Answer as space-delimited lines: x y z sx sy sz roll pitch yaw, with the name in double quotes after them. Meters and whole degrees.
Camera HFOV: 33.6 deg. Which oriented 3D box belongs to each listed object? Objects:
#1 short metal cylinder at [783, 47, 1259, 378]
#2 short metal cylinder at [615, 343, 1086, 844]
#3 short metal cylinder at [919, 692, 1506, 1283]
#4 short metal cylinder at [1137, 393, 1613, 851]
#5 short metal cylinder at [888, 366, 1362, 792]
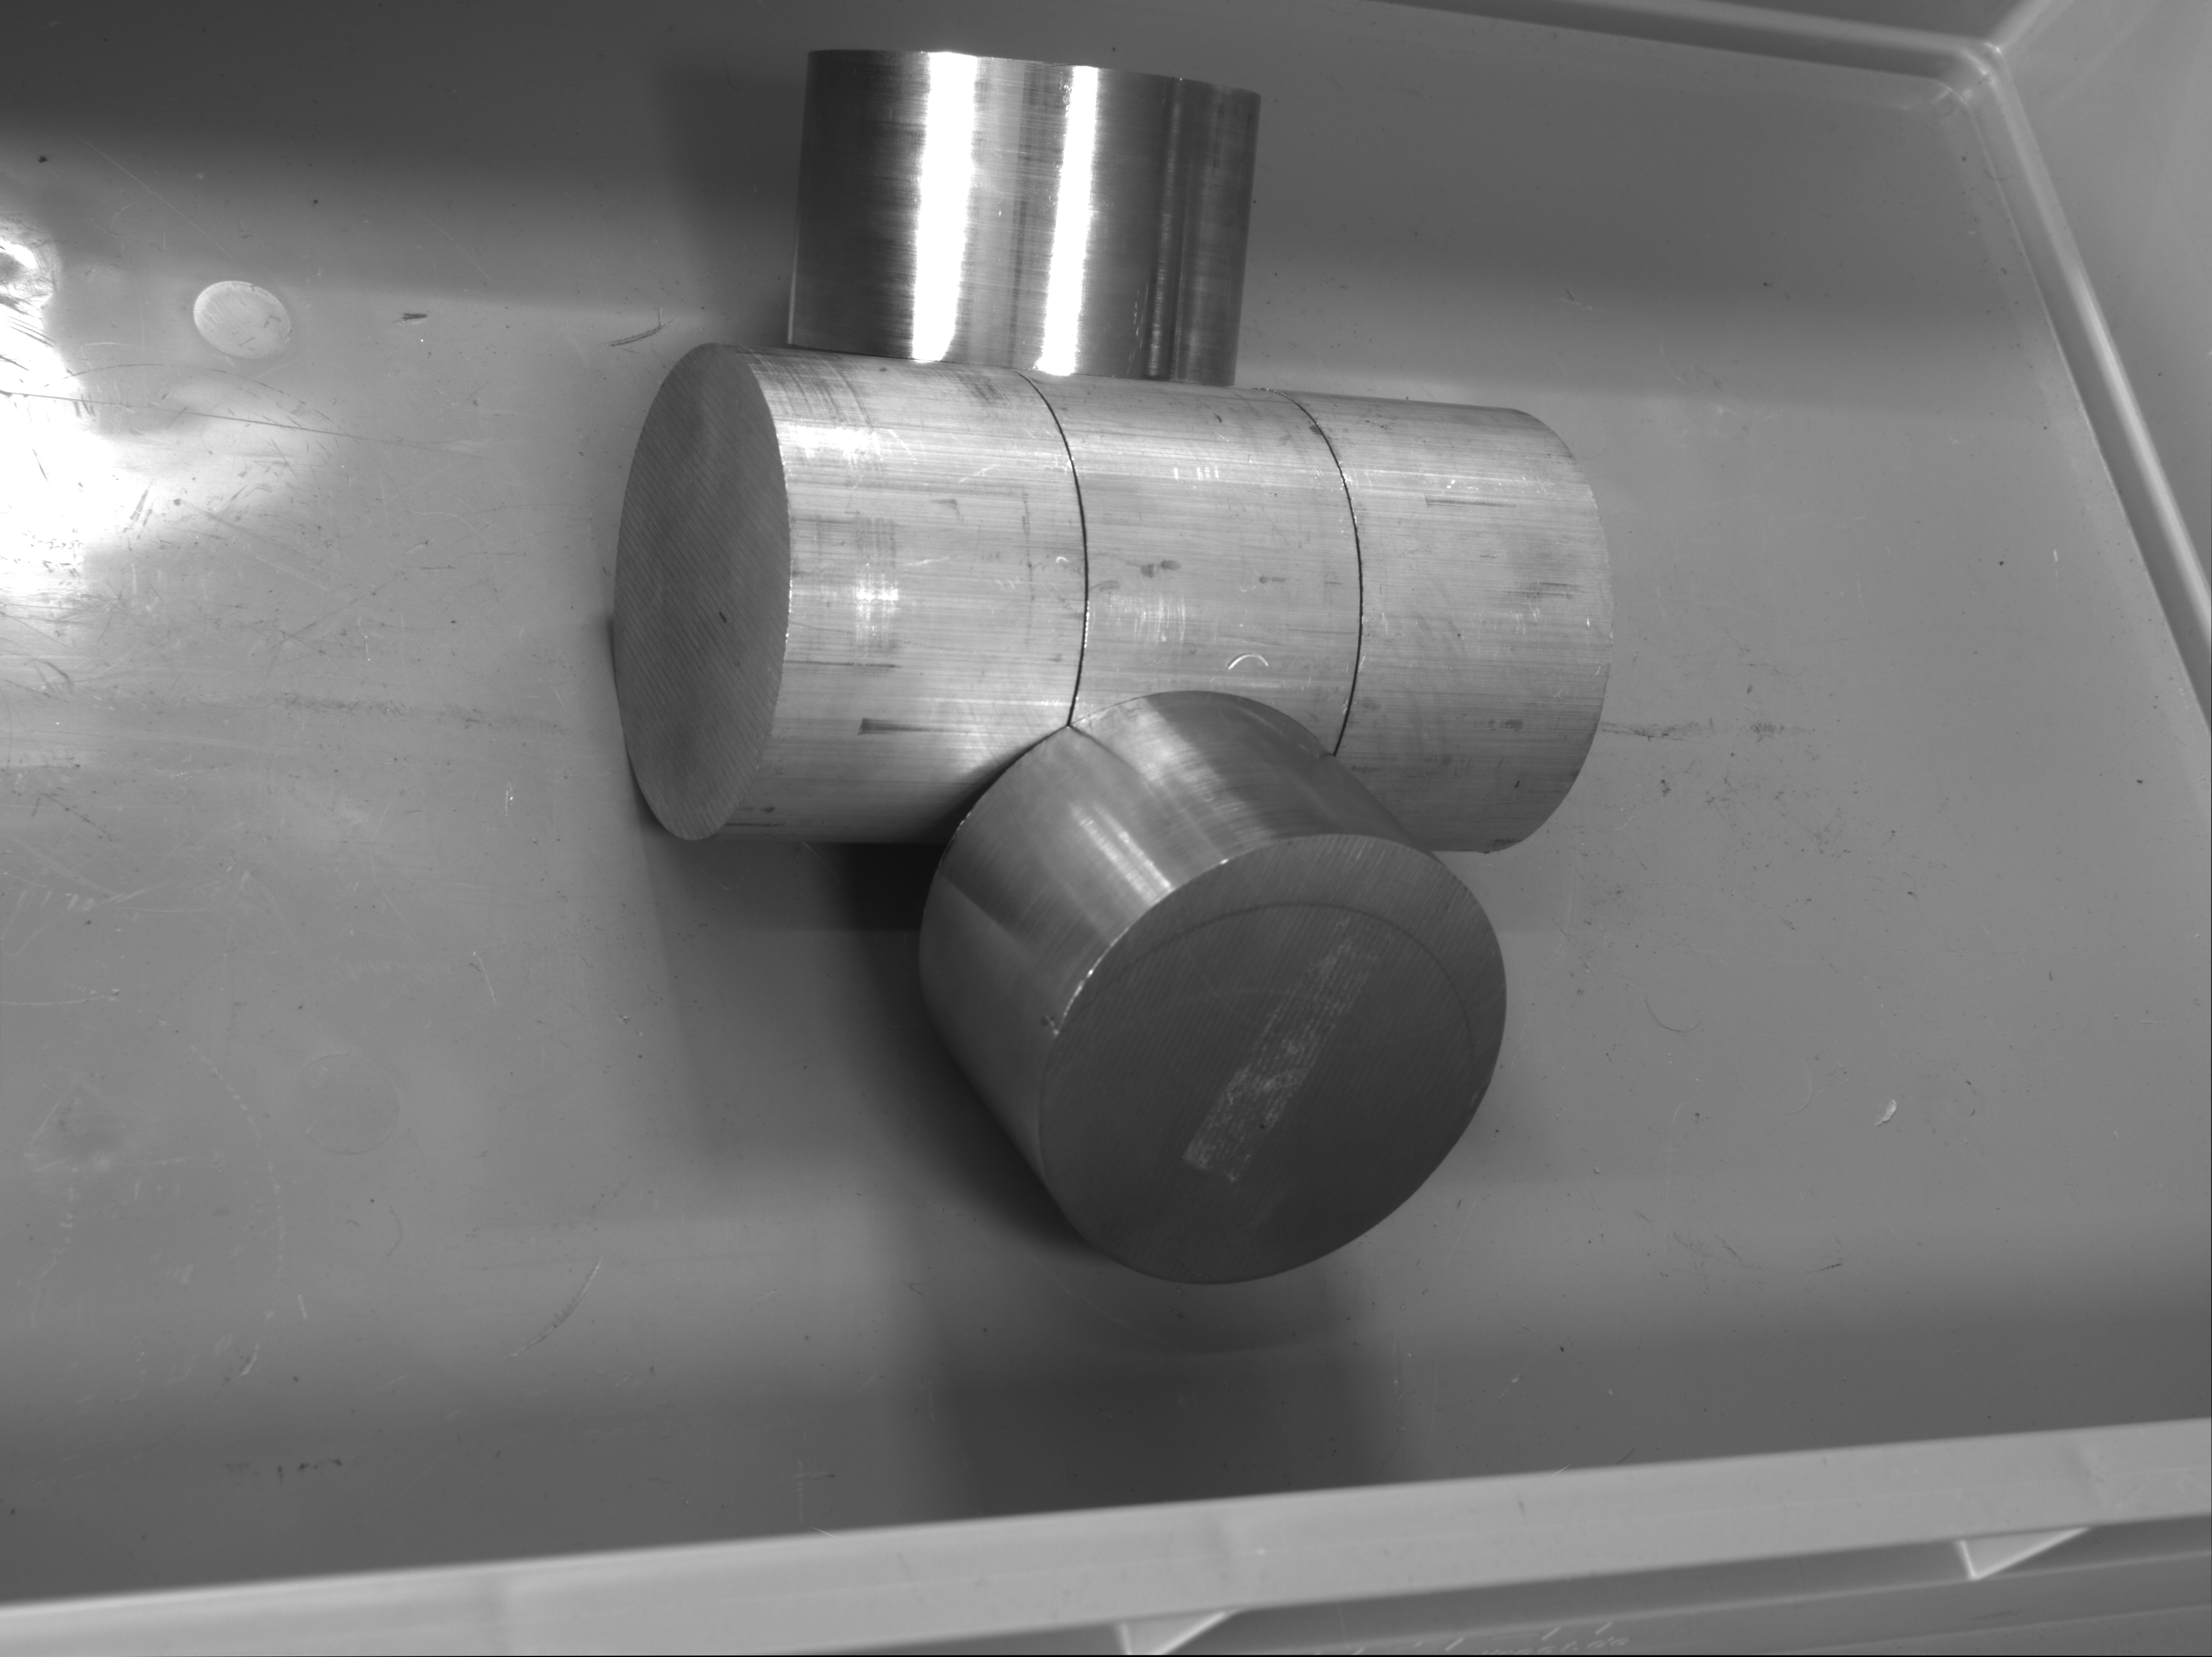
-0.015 -0.108 0.650 0.080 0.080 0.050 2 99 -27 "short metal cylinder"
-0.044 -0.037 0.602 0.050 0.080 0.080 1 61 -27 "short metal cylinder"
0.017 0.025 0.586 0.080 0.080 0.050 0 27 -28 "short metal cylinder"
0.046 -0.036 0.649 0.050 0.080 0.080 1 61 -27 "short metal cylinder"
0.002 -0.037 0.625 0.050 0.080 0.080 1 61 -27 "short metal cylinder"
